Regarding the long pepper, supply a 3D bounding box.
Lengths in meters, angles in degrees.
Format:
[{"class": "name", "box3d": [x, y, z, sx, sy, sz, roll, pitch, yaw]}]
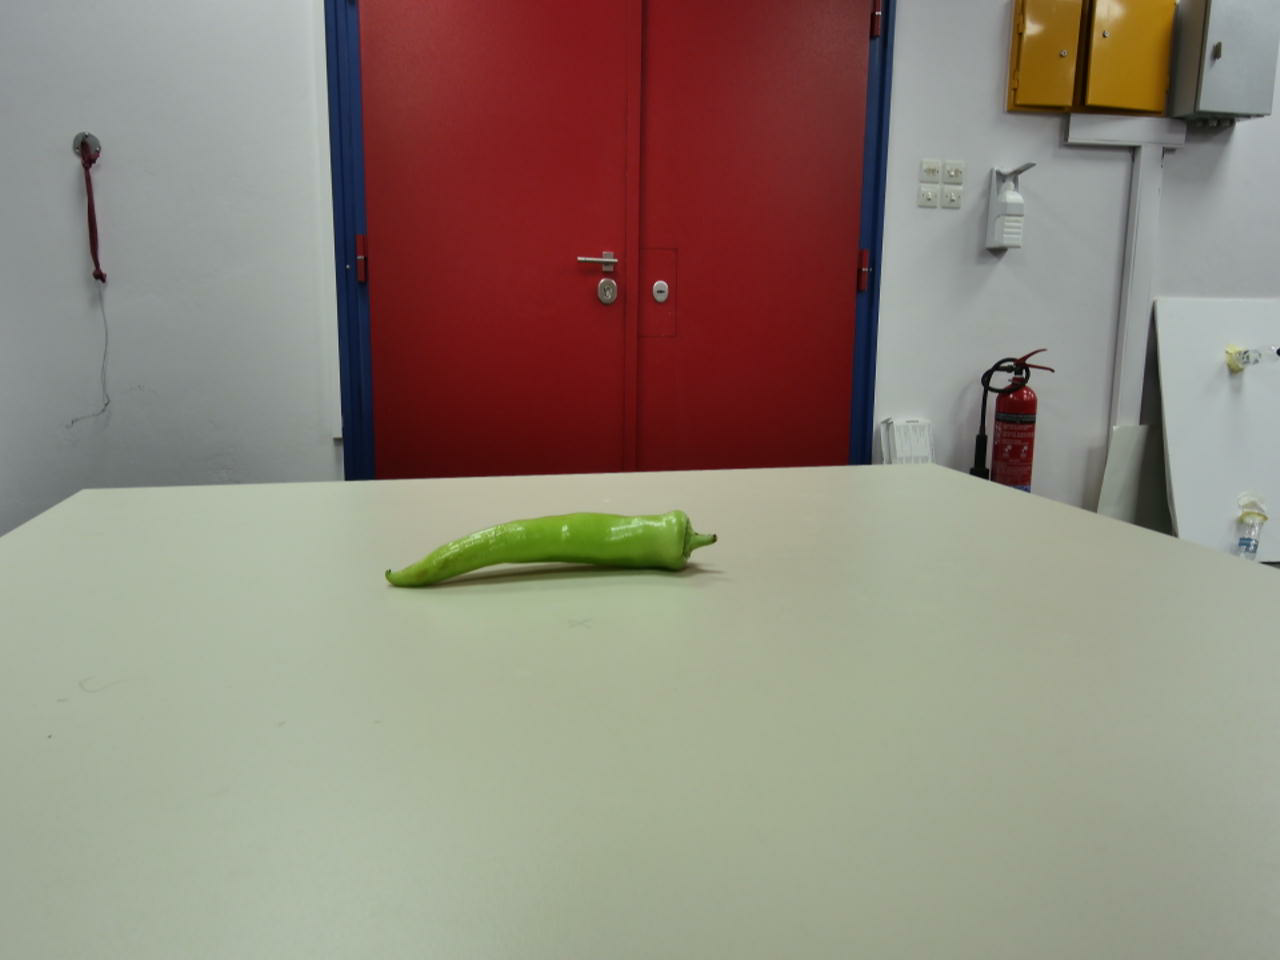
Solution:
[{"class": "long pepper", "box3d": [-0.052, 0.038, 0.601, 0.197, 0.038, 0.047, -1, 8, -11]}]
